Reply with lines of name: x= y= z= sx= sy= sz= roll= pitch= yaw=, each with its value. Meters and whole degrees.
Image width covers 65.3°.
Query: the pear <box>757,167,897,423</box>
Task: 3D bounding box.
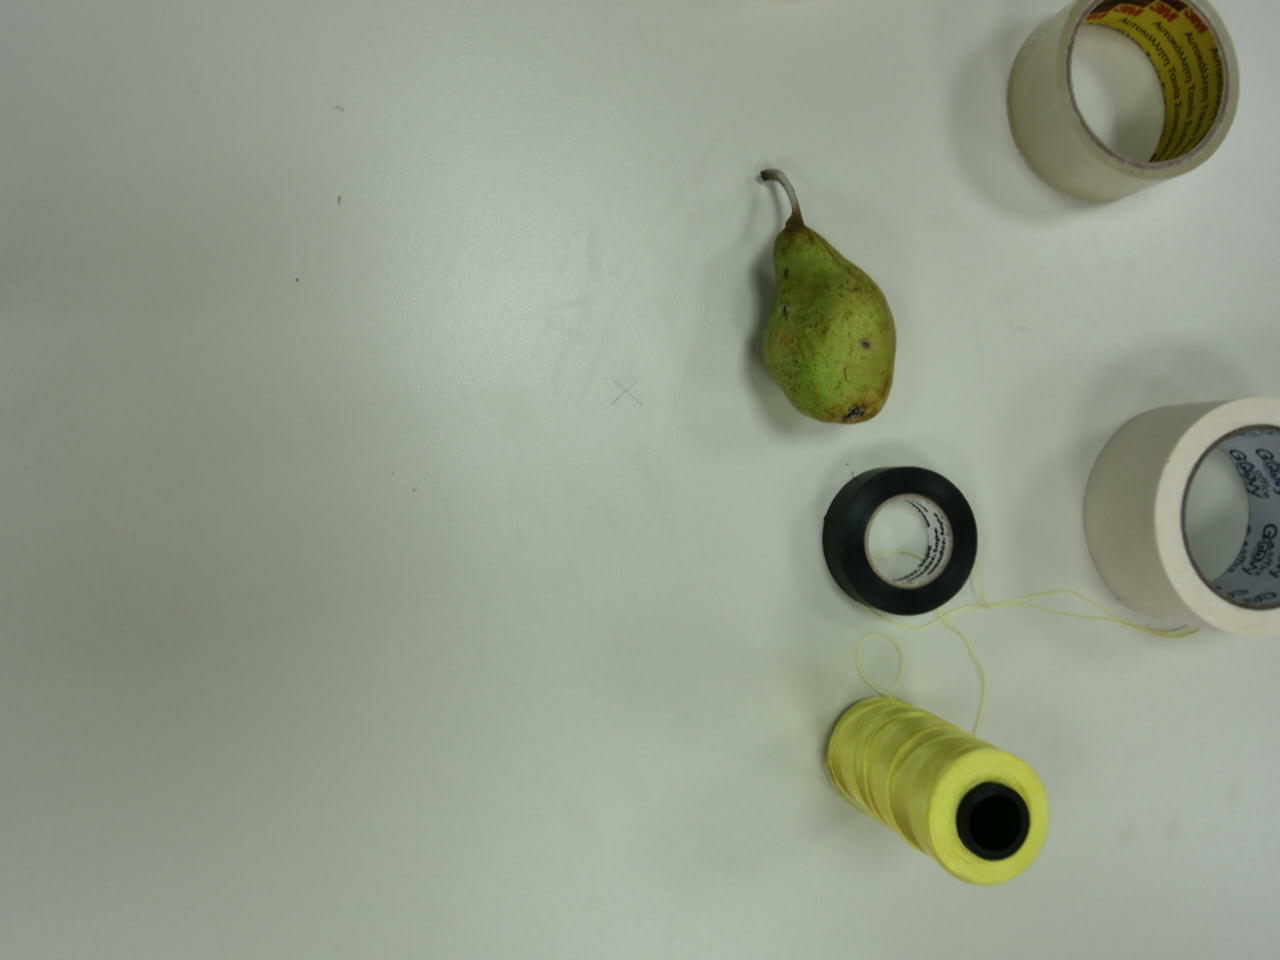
pear: x=0.082 y=-0.079 z=0.422 sx=0.056 sy=0.056 sz=0.111 roll=5 pitch=89 yaw=-11
